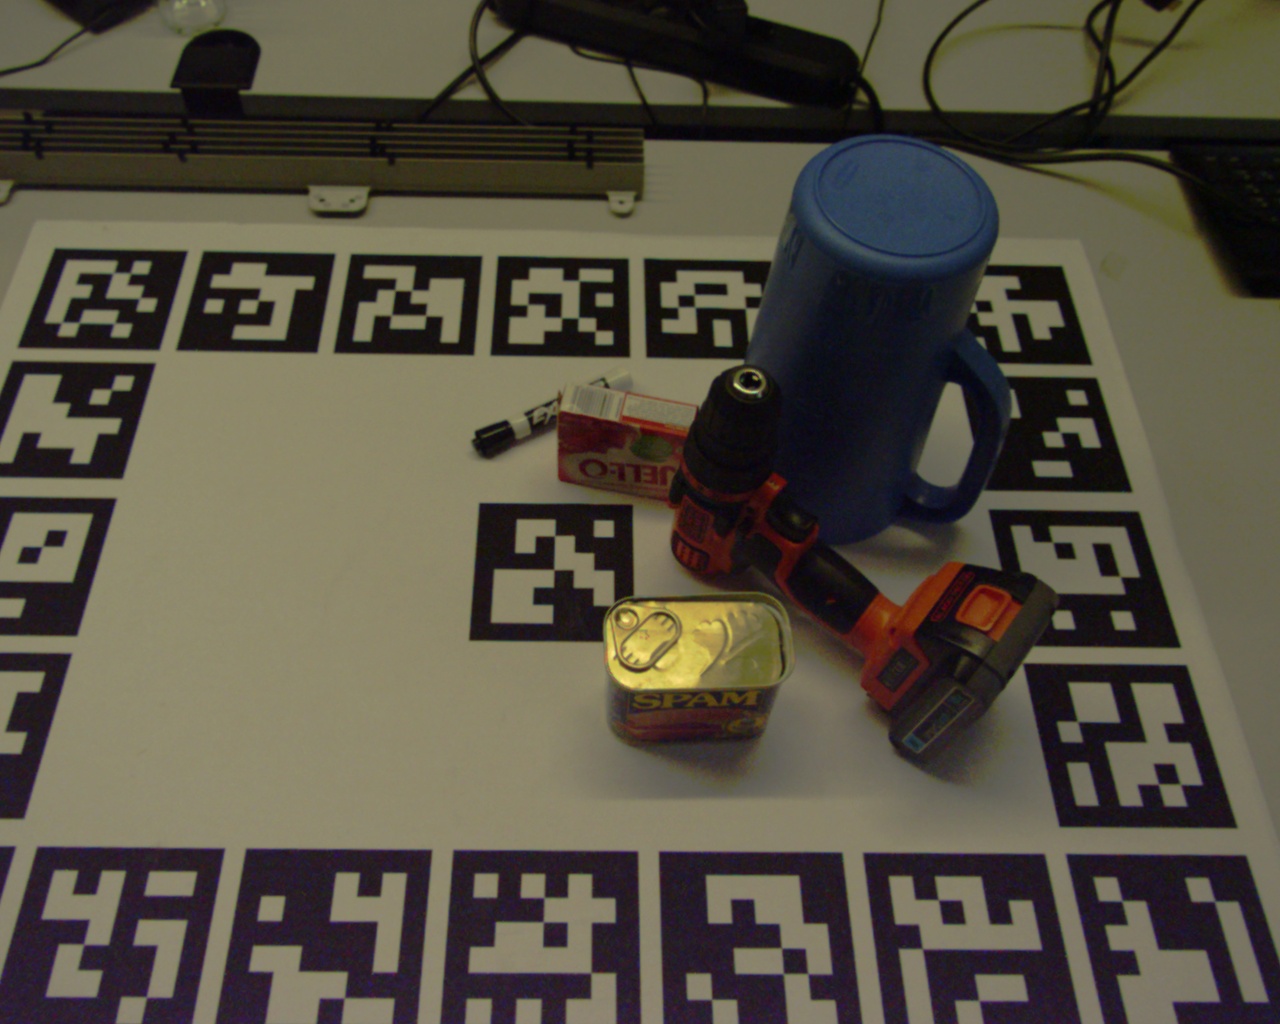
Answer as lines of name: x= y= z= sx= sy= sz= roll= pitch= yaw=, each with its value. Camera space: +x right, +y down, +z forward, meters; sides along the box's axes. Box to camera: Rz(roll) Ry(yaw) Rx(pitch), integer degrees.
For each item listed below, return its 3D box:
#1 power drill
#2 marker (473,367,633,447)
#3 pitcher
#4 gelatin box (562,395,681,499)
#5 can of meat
power drill: x=0.092 y=0.017 z=0.672 sx=0.188 sy=0.184 sz=0.057 roll=35 pitch=65 yaw=11
marker: x=-0.063 y=-0.075 z=0.818 sx=0.120 sy=0.019 sz=0.020 roll=-23 pitch=62 yaw=-14
pitcher: x=0.141 y=-0.081 z=0.709 sx=0.191 sy=0.241 sz=0.133 roll=27 pitch=64 yaw=21
gelatin box: x=-0.007 y=-0.040 z=0.770 sx=0.089 sy=0.073 sz=0.030 roll=11 pitch=62 yaw=3
can of meat: x=0.022 y=0.095 z=0.676 sx=0.102 sy=0.083 sz=0.058 roll=1 pitch=56 yaw=-2
